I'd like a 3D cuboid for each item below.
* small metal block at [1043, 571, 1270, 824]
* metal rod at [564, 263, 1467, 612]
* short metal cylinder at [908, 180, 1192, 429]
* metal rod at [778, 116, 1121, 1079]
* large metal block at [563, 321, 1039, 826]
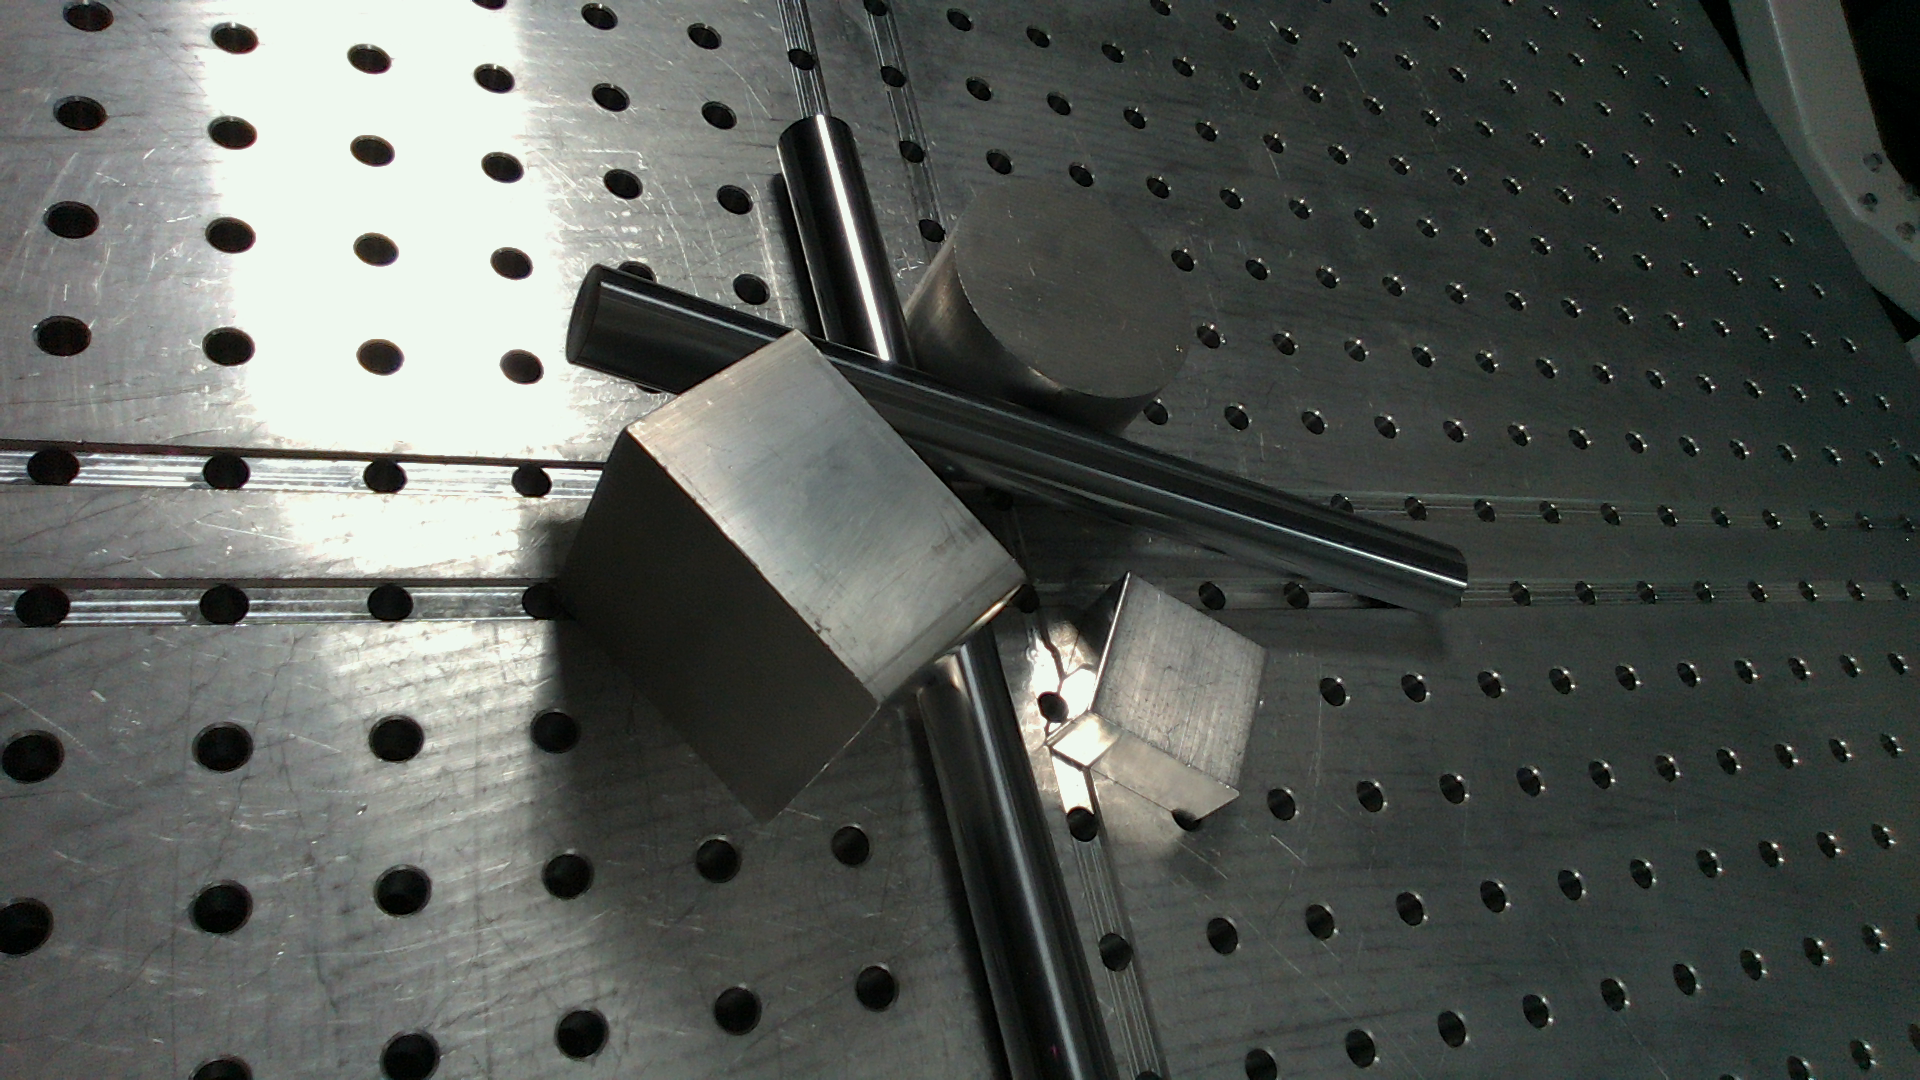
[{"bbox_3d":[0.057,0.045,0.397,0.050,0.025,0.050,29,52,-10],"label":"small metal block"},{"bbox_3d":[0.037,-0.020,0.401,0.301,0.025,0.025,15,55,-29],"label":"metal rod"},{"bbox_3d":[0.025,-0.064,0.429,0.080,0.050,0.080,14,56,-21],"label":"short metal cylinder"},{"bbox_3d":[-0.010,0.003,0.385,0.025,0.025,0.300,-2,62,-29],"label":"metal rod"},{"bbox_3d":[-0.041,0.010,0.328,0.080,0.080,0.050,46,51,4],"label":"large metal block"}]
